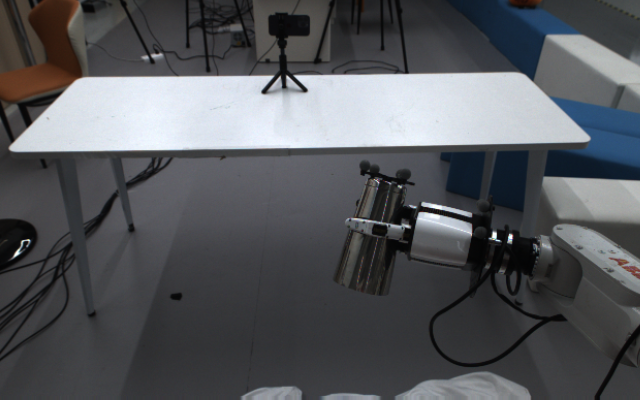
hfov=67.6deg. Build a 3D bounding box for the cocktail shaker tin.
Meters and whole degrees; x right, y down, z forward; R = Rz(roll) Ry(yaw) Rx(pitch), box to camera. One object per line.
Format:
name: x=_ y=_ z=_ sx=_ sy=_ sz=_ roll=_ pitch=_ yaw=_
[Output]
cocktail shaker tin: x=0.084 y=0.054 z=0.770 sx=0.093 sy=0.170 sz=0.093 roll=14 pitch=2 yaw=0
